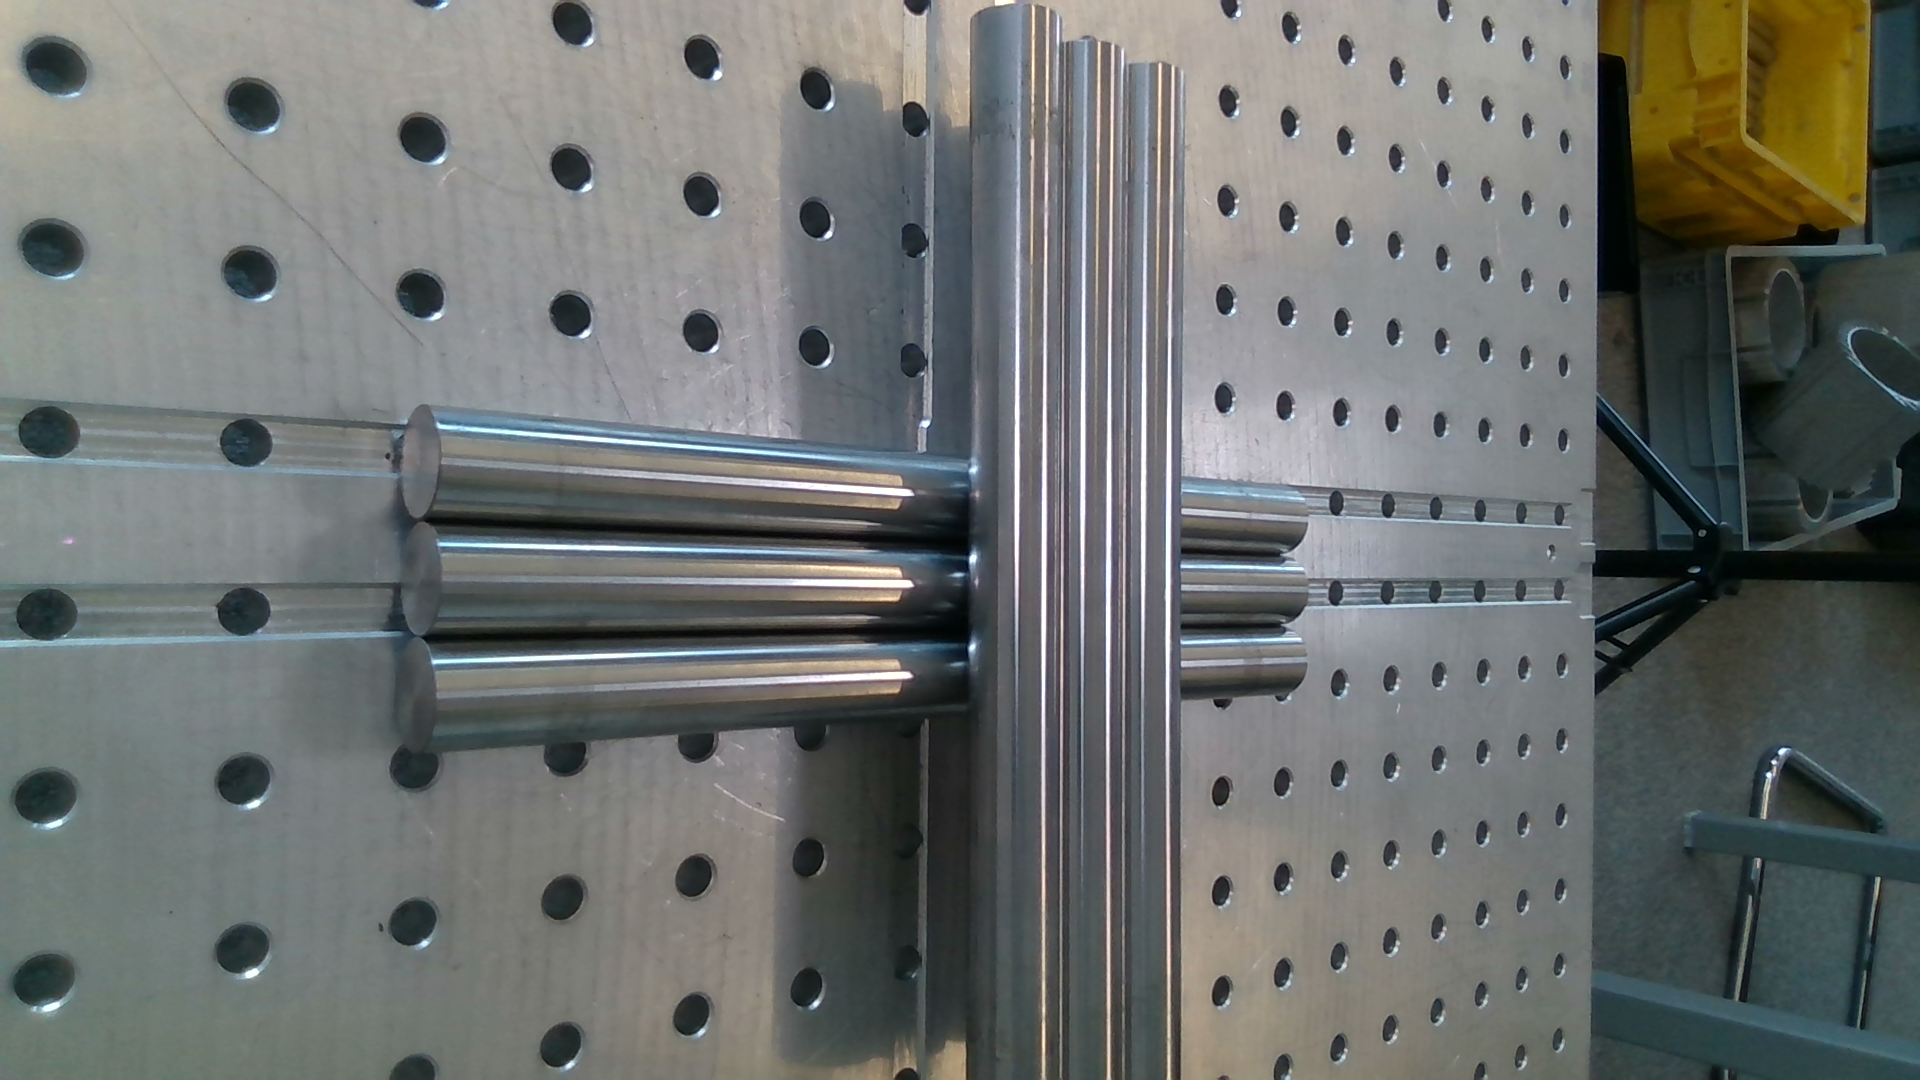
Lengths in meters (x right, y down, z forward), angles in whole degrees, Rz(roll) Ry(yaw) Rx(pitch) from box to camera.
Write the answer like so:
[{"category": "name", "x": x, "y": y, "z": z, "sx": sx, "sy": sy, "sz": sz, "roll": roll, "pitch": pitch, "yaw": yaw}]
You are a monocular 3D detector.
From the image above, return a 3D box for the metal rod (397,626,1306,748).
[{"category": "metal rod", "x": -0.002, "y": 0.037, "z": 0.392, "sx": 0.300, "sy": 0.025, "sz": 0.025, "roll": 2, "pitch": 88, "yaw": -40}]

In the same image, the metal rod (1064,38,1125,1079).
[{"category": "metal rod", "x": 0.034, "y": 0.012, "z": 0.389, "sx": 0.025, "sy": 0.025, "sz": 0.300, "roll": 0, "pitch": 90, "yaw": -40}]

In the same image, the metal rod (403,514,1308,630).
[{"category": "metal rod", "x": -0.001, "y": 0.012, "z": 0.393, "sx": 0.300, "sy": 0.025, "sz": 0.025, "roll": 2, "pitch": 88, "yaw": -40}]

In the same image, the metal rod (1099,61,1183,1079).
[{"category": "metal rod", "x": 0.053, "y": 0.013, "z": 0.406, "sx": 0.025, "sy": 0.025, "sz": 0.300, "roll": 0, "pitch": 90, "yaw": -40}]

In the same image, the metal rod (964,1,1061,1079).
[{"category": "metal rod", "x": 0.014, "y": 0.009, "z": 0.373, "sx": 0.025, "sy": 0.025, "sz": 0.300, "roll": 0, "pitch": 90, "yaw": -40}]

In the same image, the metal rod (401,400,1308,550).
[{"category": "metal rod", "x": -0.001, "y": -0.013, "z": 0.393, "sx": 0.300, "sy": 0.025, "sz": 0.025, "roll": 2, "pitch": 88, "yaw": -40}]
